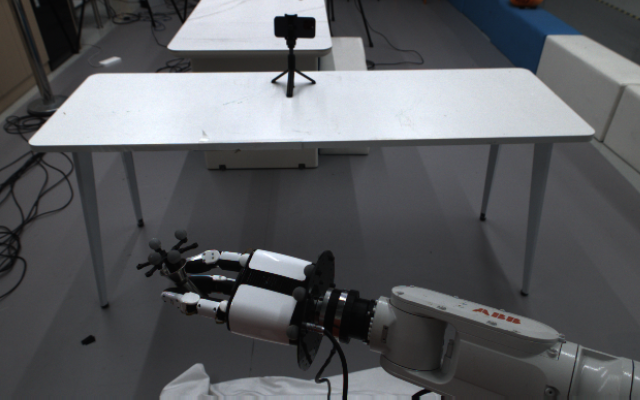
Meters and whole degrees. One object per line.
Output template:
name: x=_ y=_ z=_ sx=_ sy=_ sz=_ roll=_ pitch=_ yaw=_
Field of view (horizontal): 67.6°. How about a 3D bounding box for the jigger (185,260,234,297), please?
jigger: x=-0.189 y=0.119 z=0.689 sx=0.043 sy=0.071 sz=0.043 roll=-19 pitch=24 yaw=9
